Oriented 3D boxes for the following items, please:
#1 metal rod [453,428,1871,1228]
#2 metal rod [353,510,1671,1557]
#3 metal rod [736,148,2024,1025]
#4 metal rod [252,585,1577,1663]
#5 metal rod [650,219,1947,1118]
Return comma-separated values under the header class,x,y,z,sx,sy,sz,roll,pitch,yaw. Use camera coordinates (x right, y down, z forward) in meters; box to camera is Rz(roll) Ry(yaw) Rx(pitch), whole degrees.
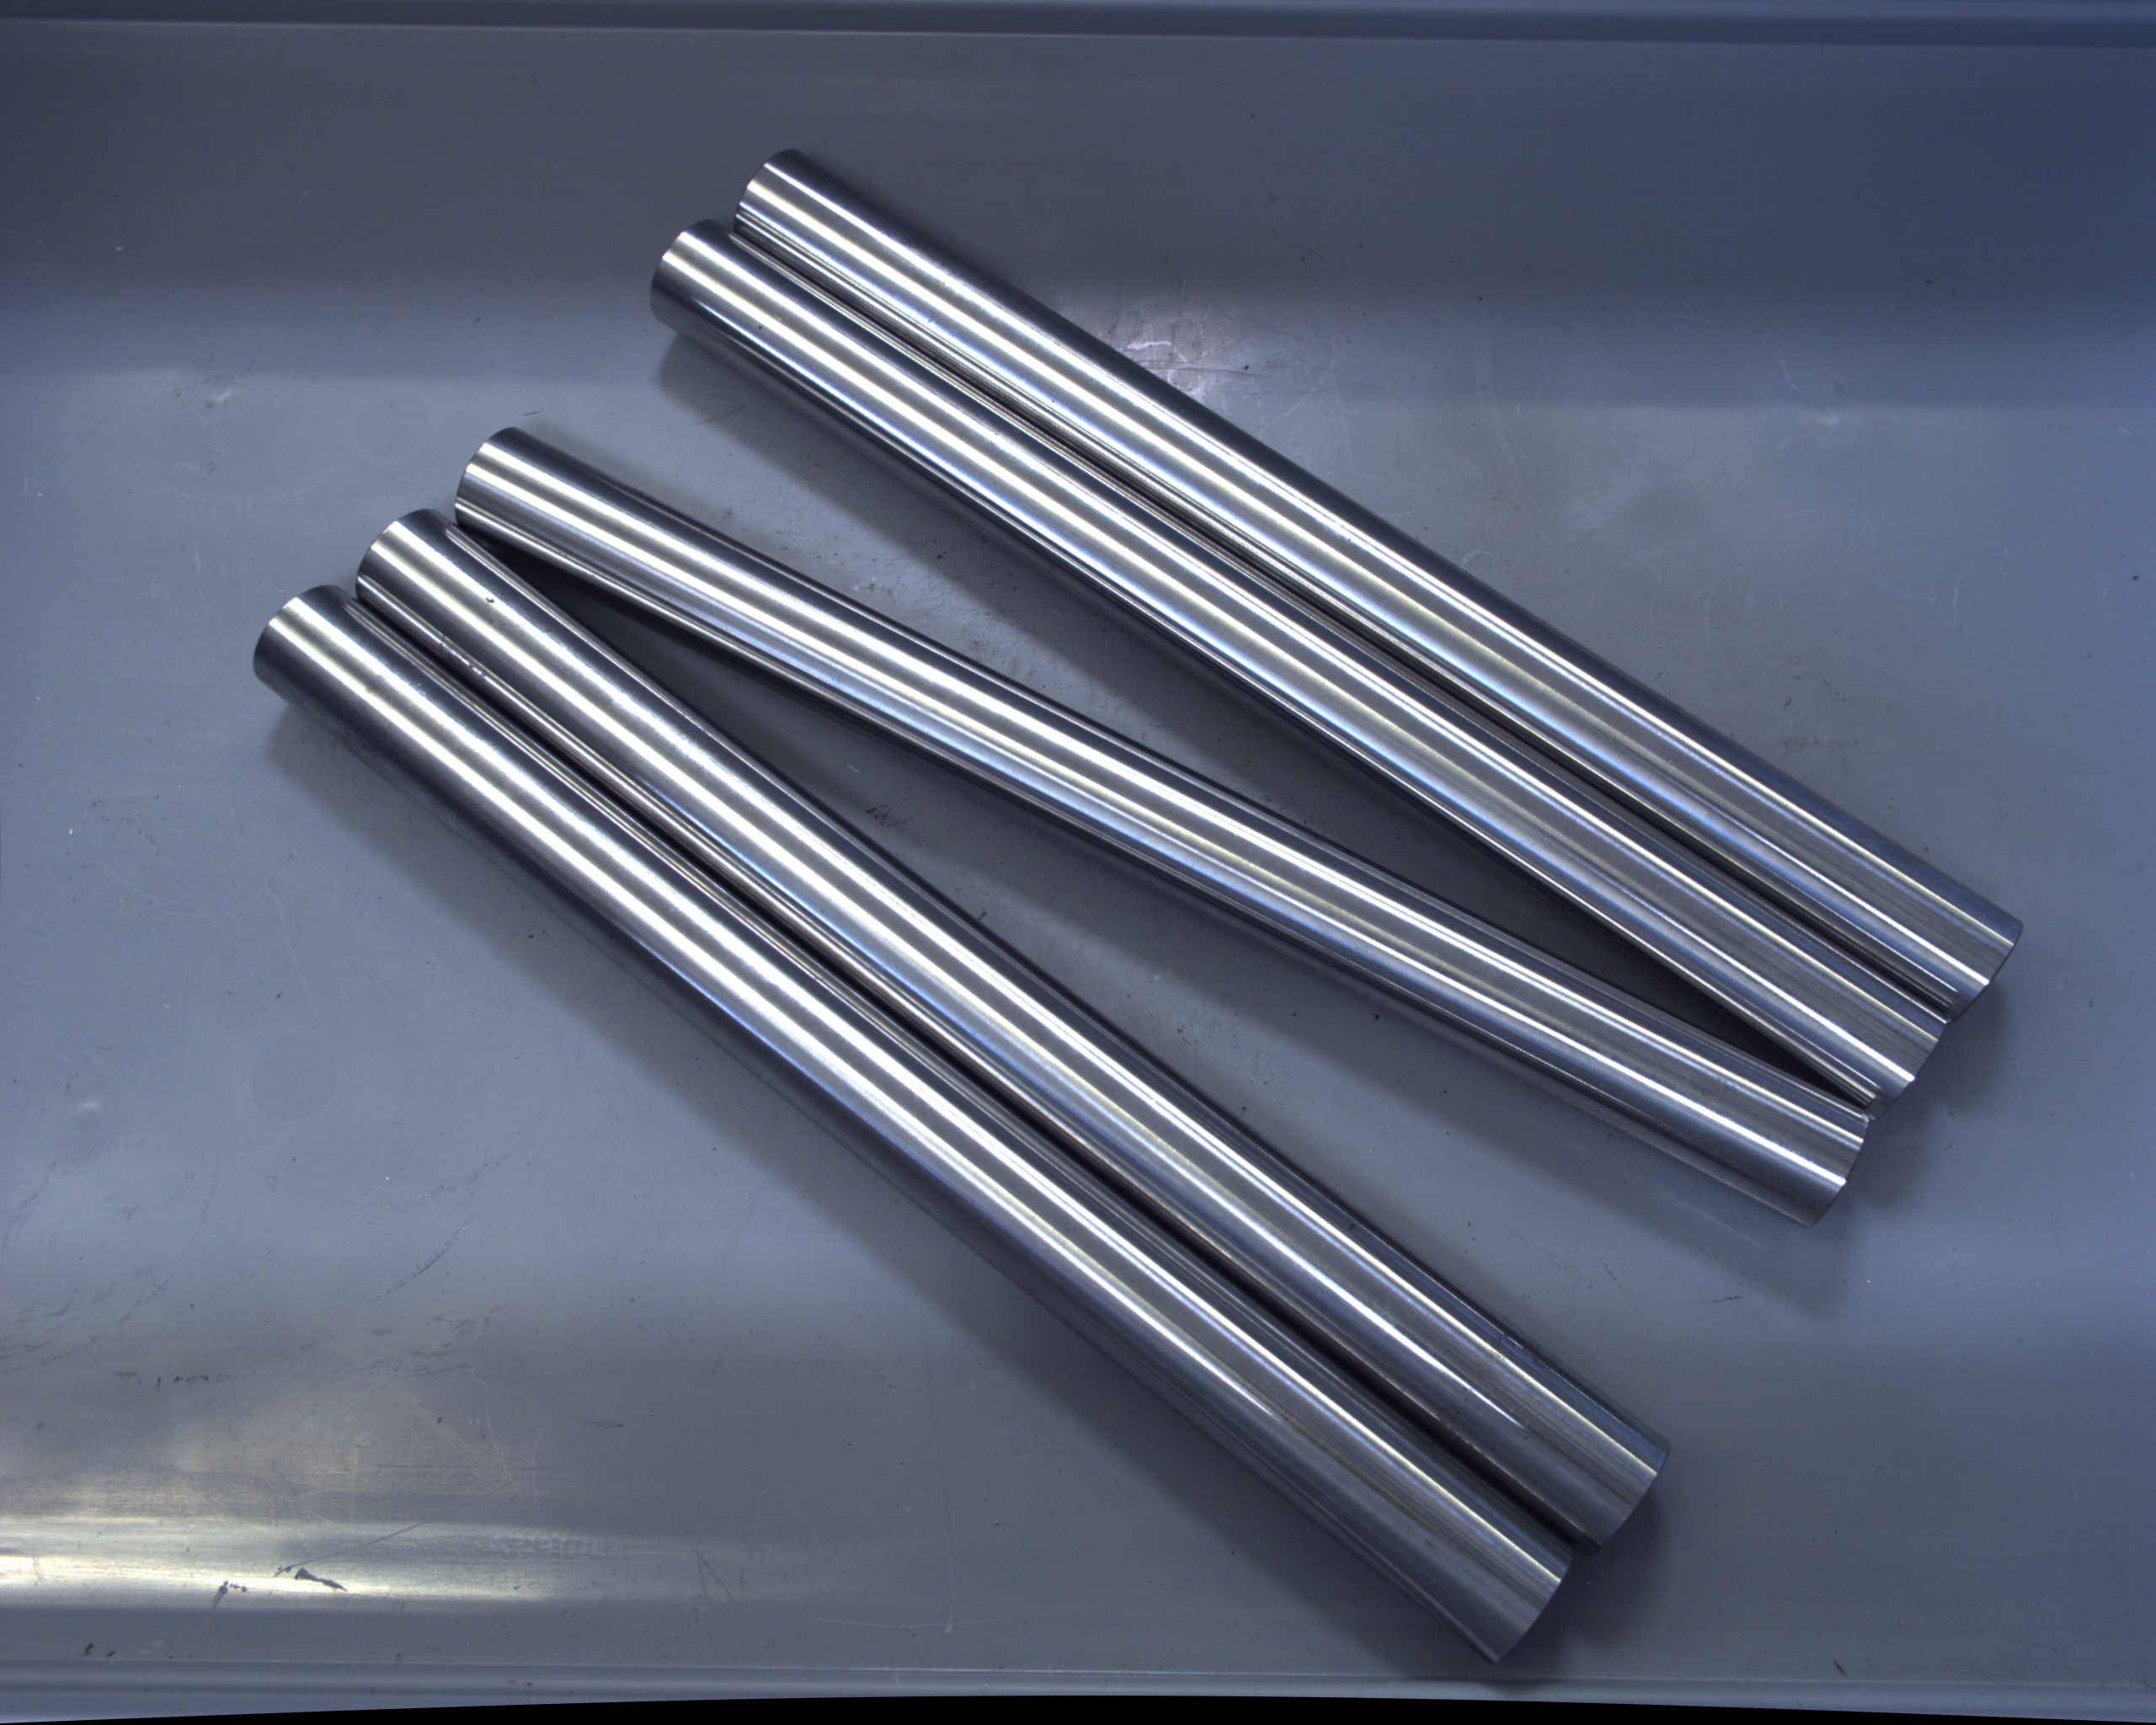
class,x,y,z,sx,sy,sz,roll,pitch,yaw
metal rod,0.009,-0.011,0.412,0.301,0.025,0.025,27,72,9
metal rod,-0.021,0.025,0.399,0.300,0.025,0.025,36,74,12
metal rod,0.053,-0.062,0.431,0.300,0.025,0.025,35,74,12
metal rod,-0.039,0.041,0.393,0.300,0.025,0.025,36,74,12
metal rod,0.036,-0.045,0.425,0.300,0.025,0.025,35,74,12
